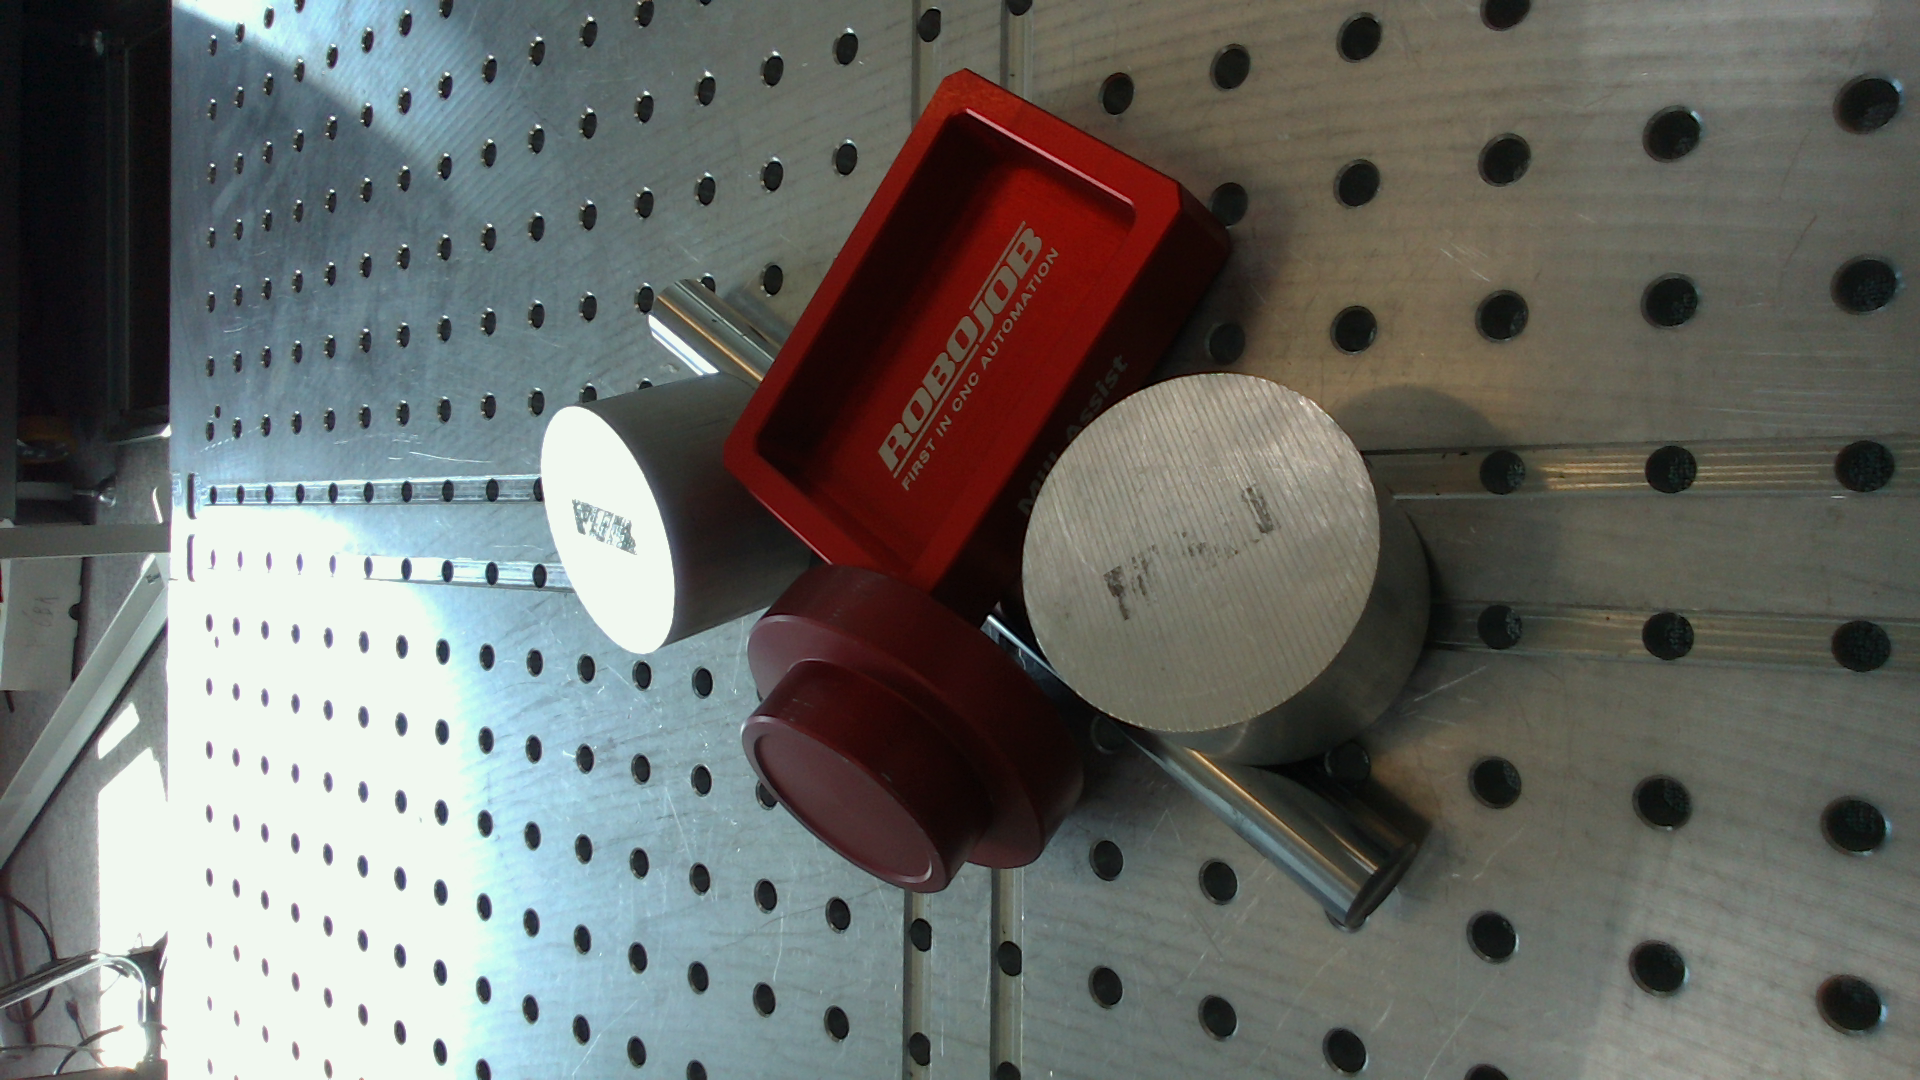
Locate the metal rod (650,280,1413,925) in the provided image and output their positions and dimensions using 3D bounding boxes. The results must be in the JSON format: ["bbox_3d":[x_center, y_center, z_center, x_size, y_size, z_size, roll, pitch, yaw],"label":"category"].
[{"bbox_3d":[-0.001,0.000,0.399,0.299,0.025,0.025,39,114,33],"label":"metal rod"}]

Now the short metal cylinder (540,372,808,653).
[{"bbox_3d":[-0.093,-0.010,0.444,0.080,0.050,0.080,25,124,42],"label":"short metal cylinder"}]

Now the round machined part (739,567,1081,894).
[{"bbox_3d":[-0.020,0.057,0.368,0.098,0.042,0.098,28,148,19],"label":"round machined part"}]

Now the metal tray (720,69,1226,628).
[{"bbox_3d":[-0.001,-0.051,0.376,0.090,0.030,0.130,39,101,33],"label":"metal tray"}]

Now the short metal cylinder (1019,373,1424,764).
[{"bbox_3d":[0.060,0.008,0.315,0.080,0.050,0.080,-10,69,26],"label":"short metal cylinder"}]
